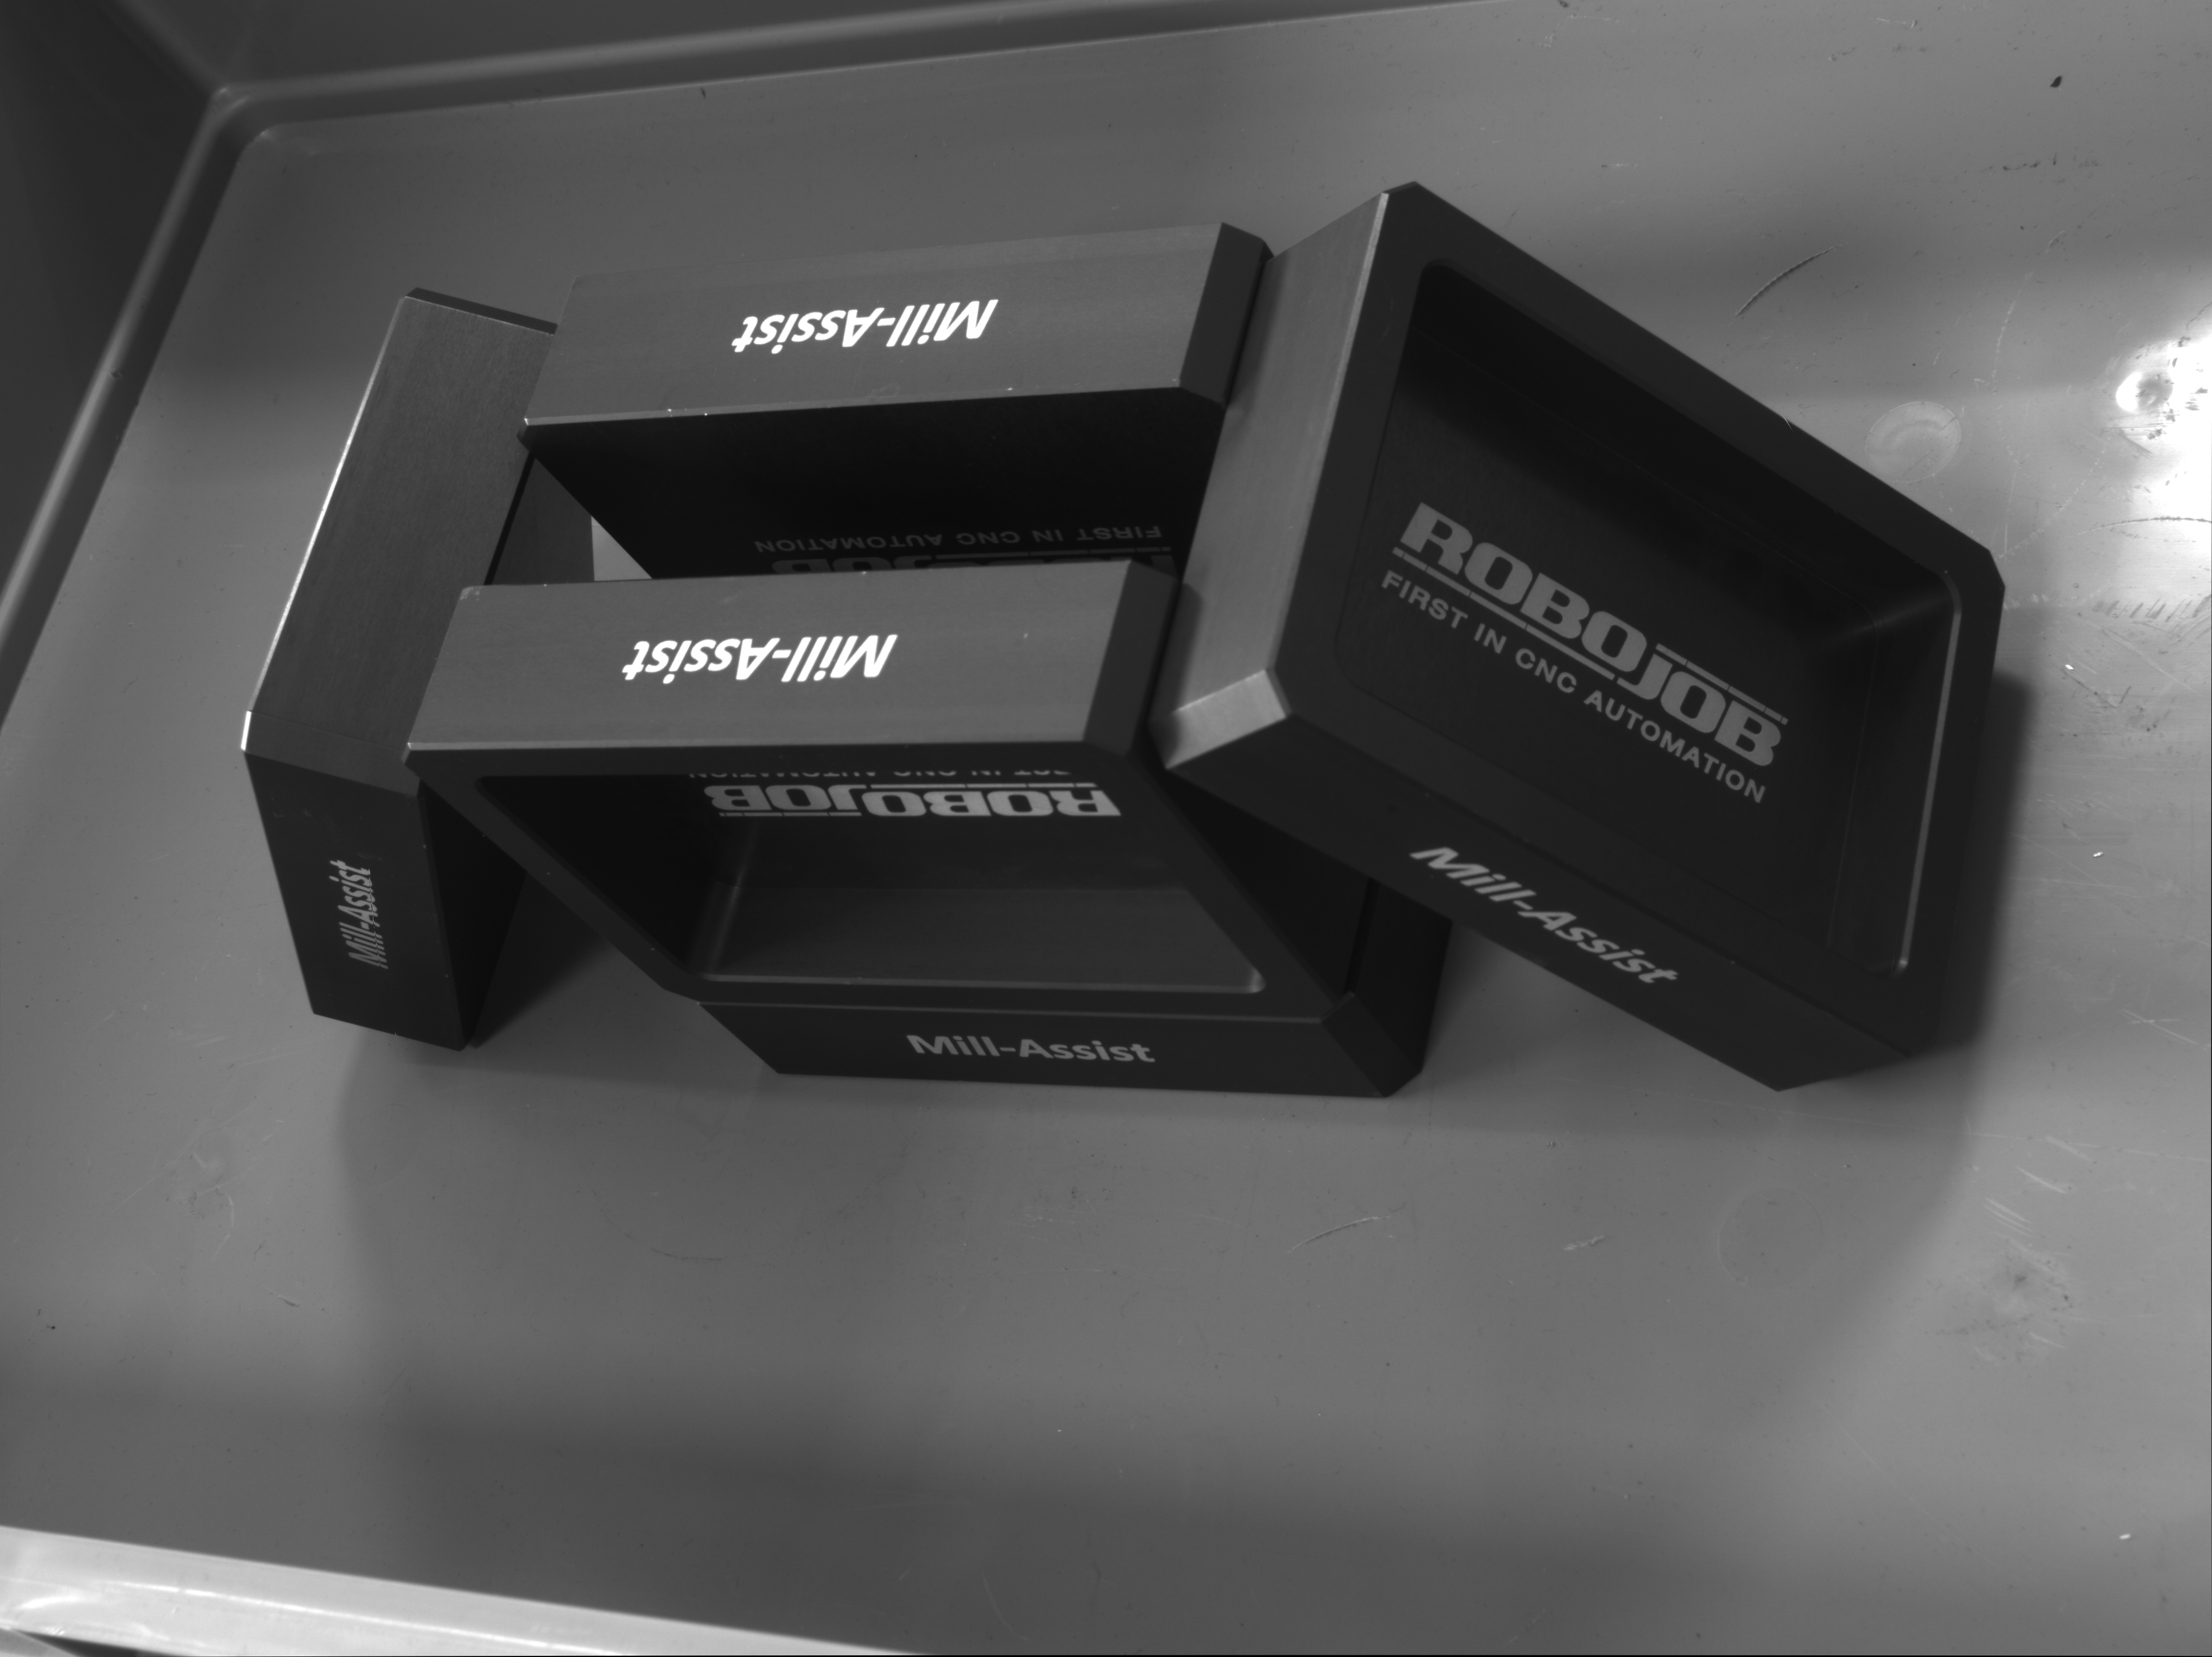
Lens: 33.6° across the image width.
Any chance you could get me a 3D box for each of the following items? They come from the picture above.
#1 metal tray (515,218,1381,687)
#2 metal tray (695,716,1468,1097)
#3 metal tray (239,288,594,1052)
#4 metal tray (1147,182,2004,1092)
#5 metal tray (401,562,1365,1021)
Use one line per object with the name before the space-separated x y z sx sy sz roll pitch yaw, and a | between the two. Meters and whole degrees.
metal tray | -0.020 -0.058 0.608 0.130 0.090 0.030 0 61 28
metal tray | -0.002 -0.002 0.643 0.130 0.030 0.090 0 61 28
metal tray | -0.120 -0.025 0.657 0.030 0.130 0.090 15 66 0
metal tray | 0.075 -0.027 0.553 0.030 0.130 0.090 -22 47 53
metal tray | -0.034 -0.004 0.583 0.130 0.090 0.030 0 61 28
